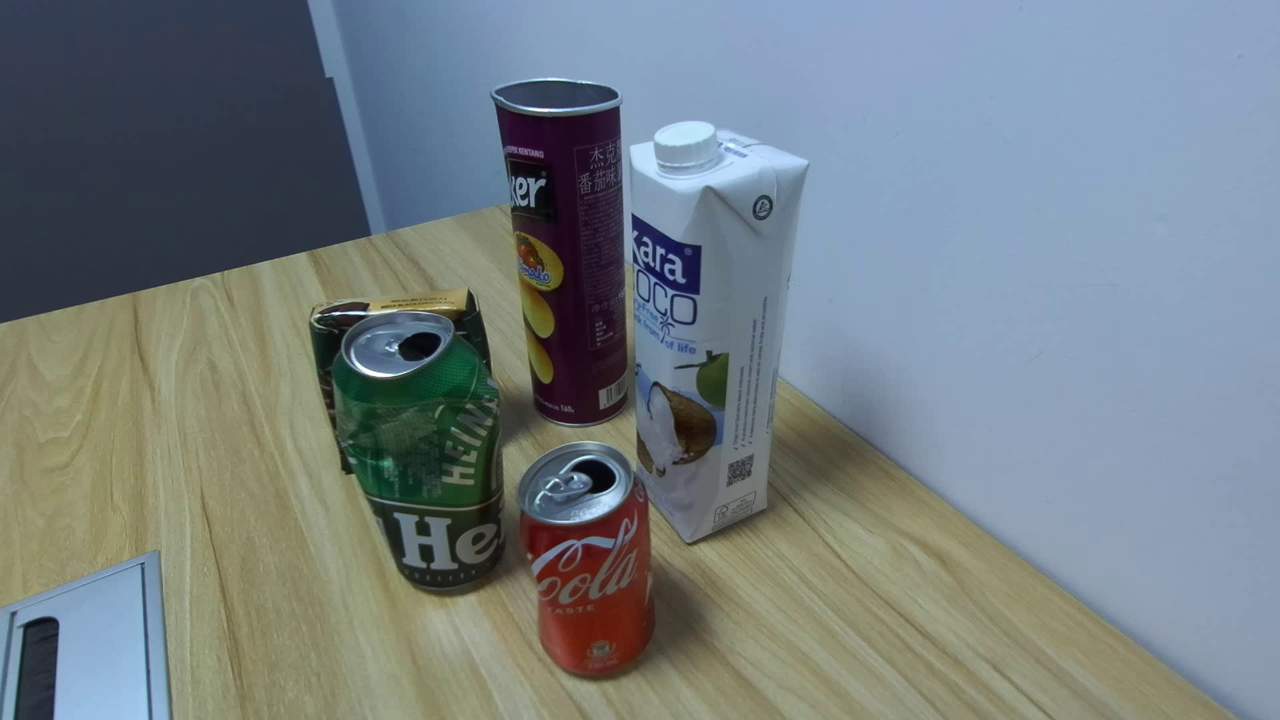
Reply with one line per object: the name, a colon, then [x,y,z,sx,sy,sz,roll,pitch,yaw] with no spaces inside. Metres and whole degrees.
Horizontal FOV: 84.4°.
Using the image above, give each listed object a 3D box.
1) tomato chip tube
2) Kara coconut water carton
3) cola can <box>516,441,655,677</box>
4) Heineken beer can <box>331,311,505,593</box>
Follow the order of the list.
tomato chip tube: [-0.048,-0.066,0.496,0.077,0.234,0.080,-10,36,-11]
Kara coconut water carton: [0.038,-0.011,0.400,0.075,0.245,0.076,-18,37,-24]
cola can: [-0.024,0.103,0.356,0.065,0.117,0.072,6,36,10]
Heineken beer can: [-0.118,0.054,0.389,0.066,0.164,0.077,-30,45,-33]
